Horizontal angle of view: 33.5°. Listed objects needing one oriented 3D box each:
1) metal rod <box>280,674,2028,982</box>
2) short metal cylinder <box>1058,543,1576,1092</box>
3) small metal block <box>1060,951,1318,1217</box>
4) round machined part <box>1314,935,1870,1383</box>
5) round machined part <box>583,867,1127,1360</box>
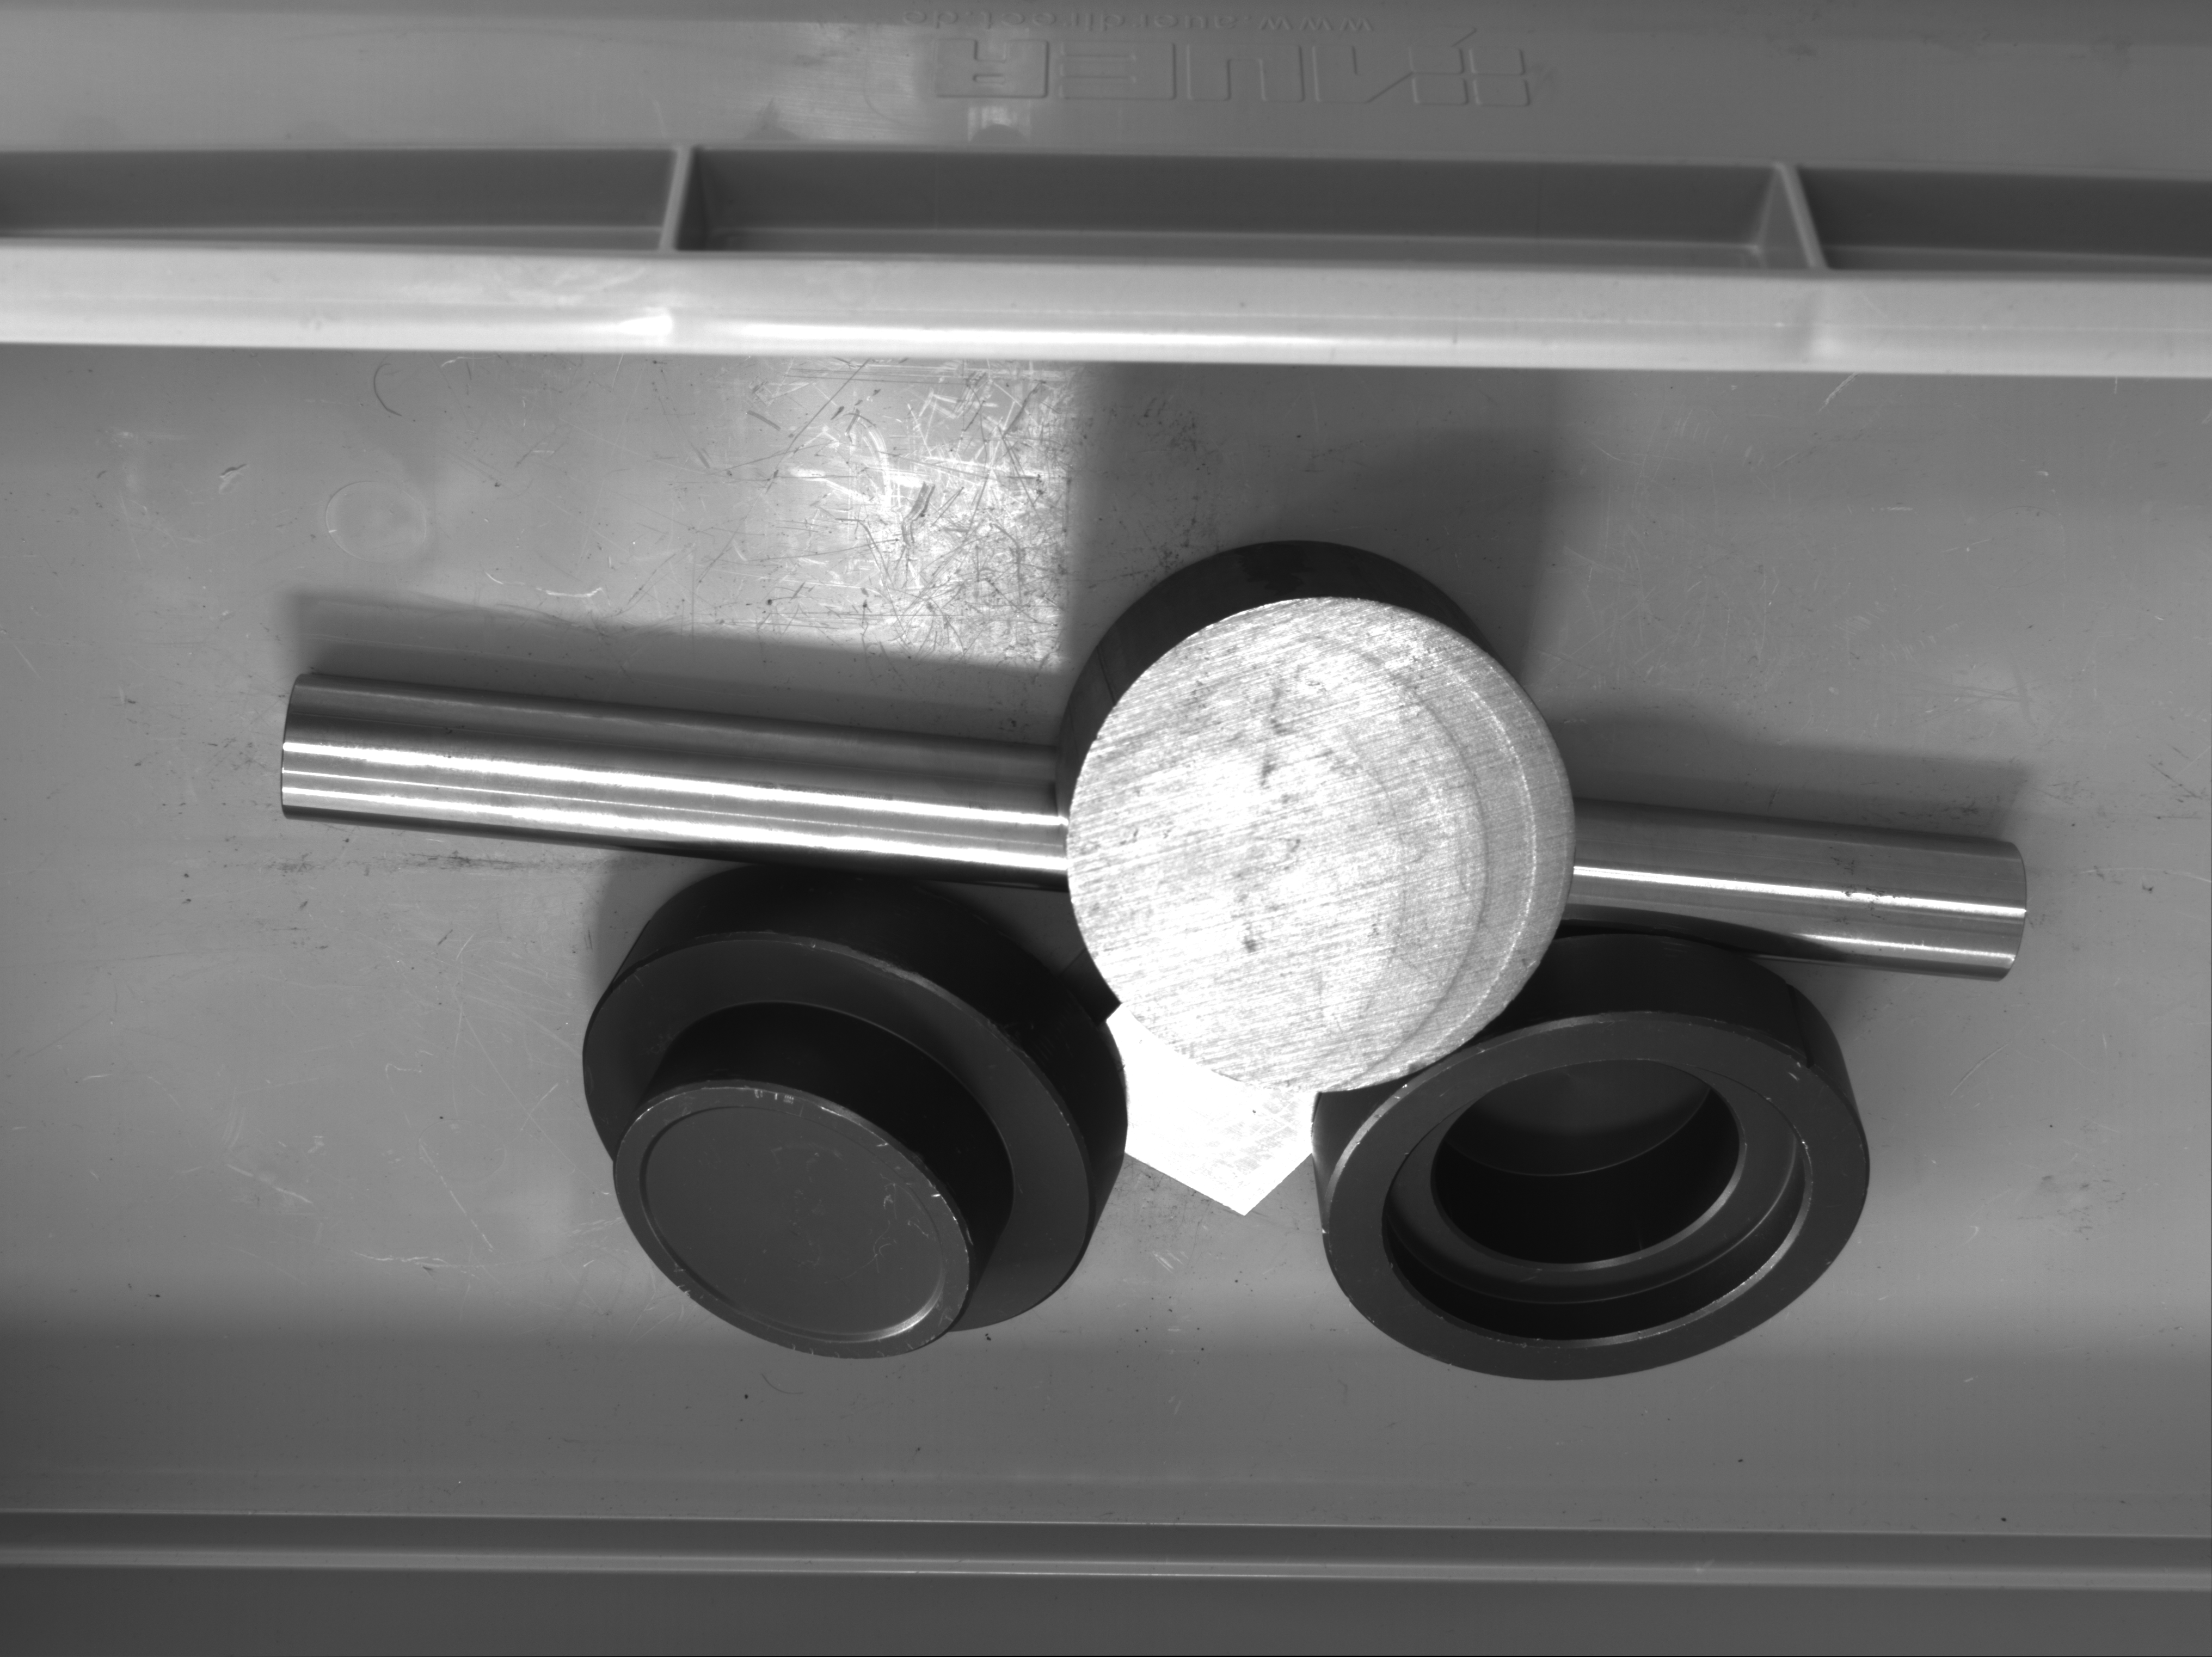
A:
[{"bbox_3d":[0.010,0.000,0.638,0.300,0.025,0.025,6,130,-5],"label":"metal rod"},{"bbox_3d":[0.033,-0.003,0.600,0.080,0.050,0.080,-1,104,-3],"label":"short metal cylinder"},{"bbox_3d":[0.021,0.037,0.669,0.050,0.025,0.050,29,124,-22],"label":"small metal block"},{"bbox_3d":[0.086,0.054,0.669,0.098,0.042,0.098,-2,132,-2],"label":"round machined part"},{"bbox_3d":[-0.049,0.057,0.657,0.098,0.042,0.098,12,132,14],"label":"round machined part"}]
